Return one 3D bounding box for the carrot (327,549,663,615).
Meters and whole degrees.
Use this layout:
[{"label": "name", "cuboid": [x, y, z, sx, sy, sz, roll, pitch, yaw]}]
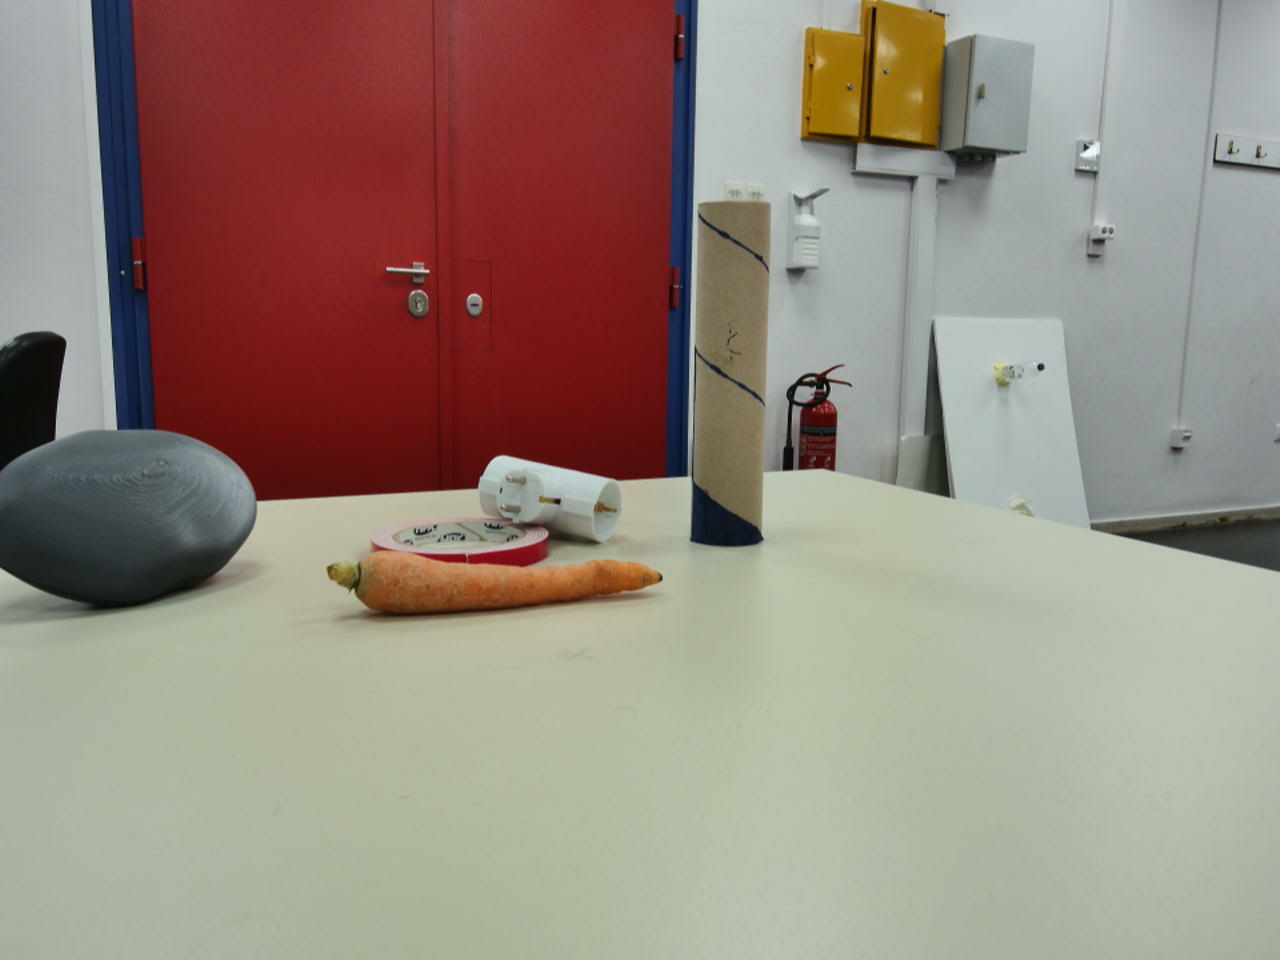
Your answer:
[{"label": "carrot", "cuboid": [-0.069, 0.049, 0.509, 0.173, 0.032, 0.030, -2, 7, -16]}]
